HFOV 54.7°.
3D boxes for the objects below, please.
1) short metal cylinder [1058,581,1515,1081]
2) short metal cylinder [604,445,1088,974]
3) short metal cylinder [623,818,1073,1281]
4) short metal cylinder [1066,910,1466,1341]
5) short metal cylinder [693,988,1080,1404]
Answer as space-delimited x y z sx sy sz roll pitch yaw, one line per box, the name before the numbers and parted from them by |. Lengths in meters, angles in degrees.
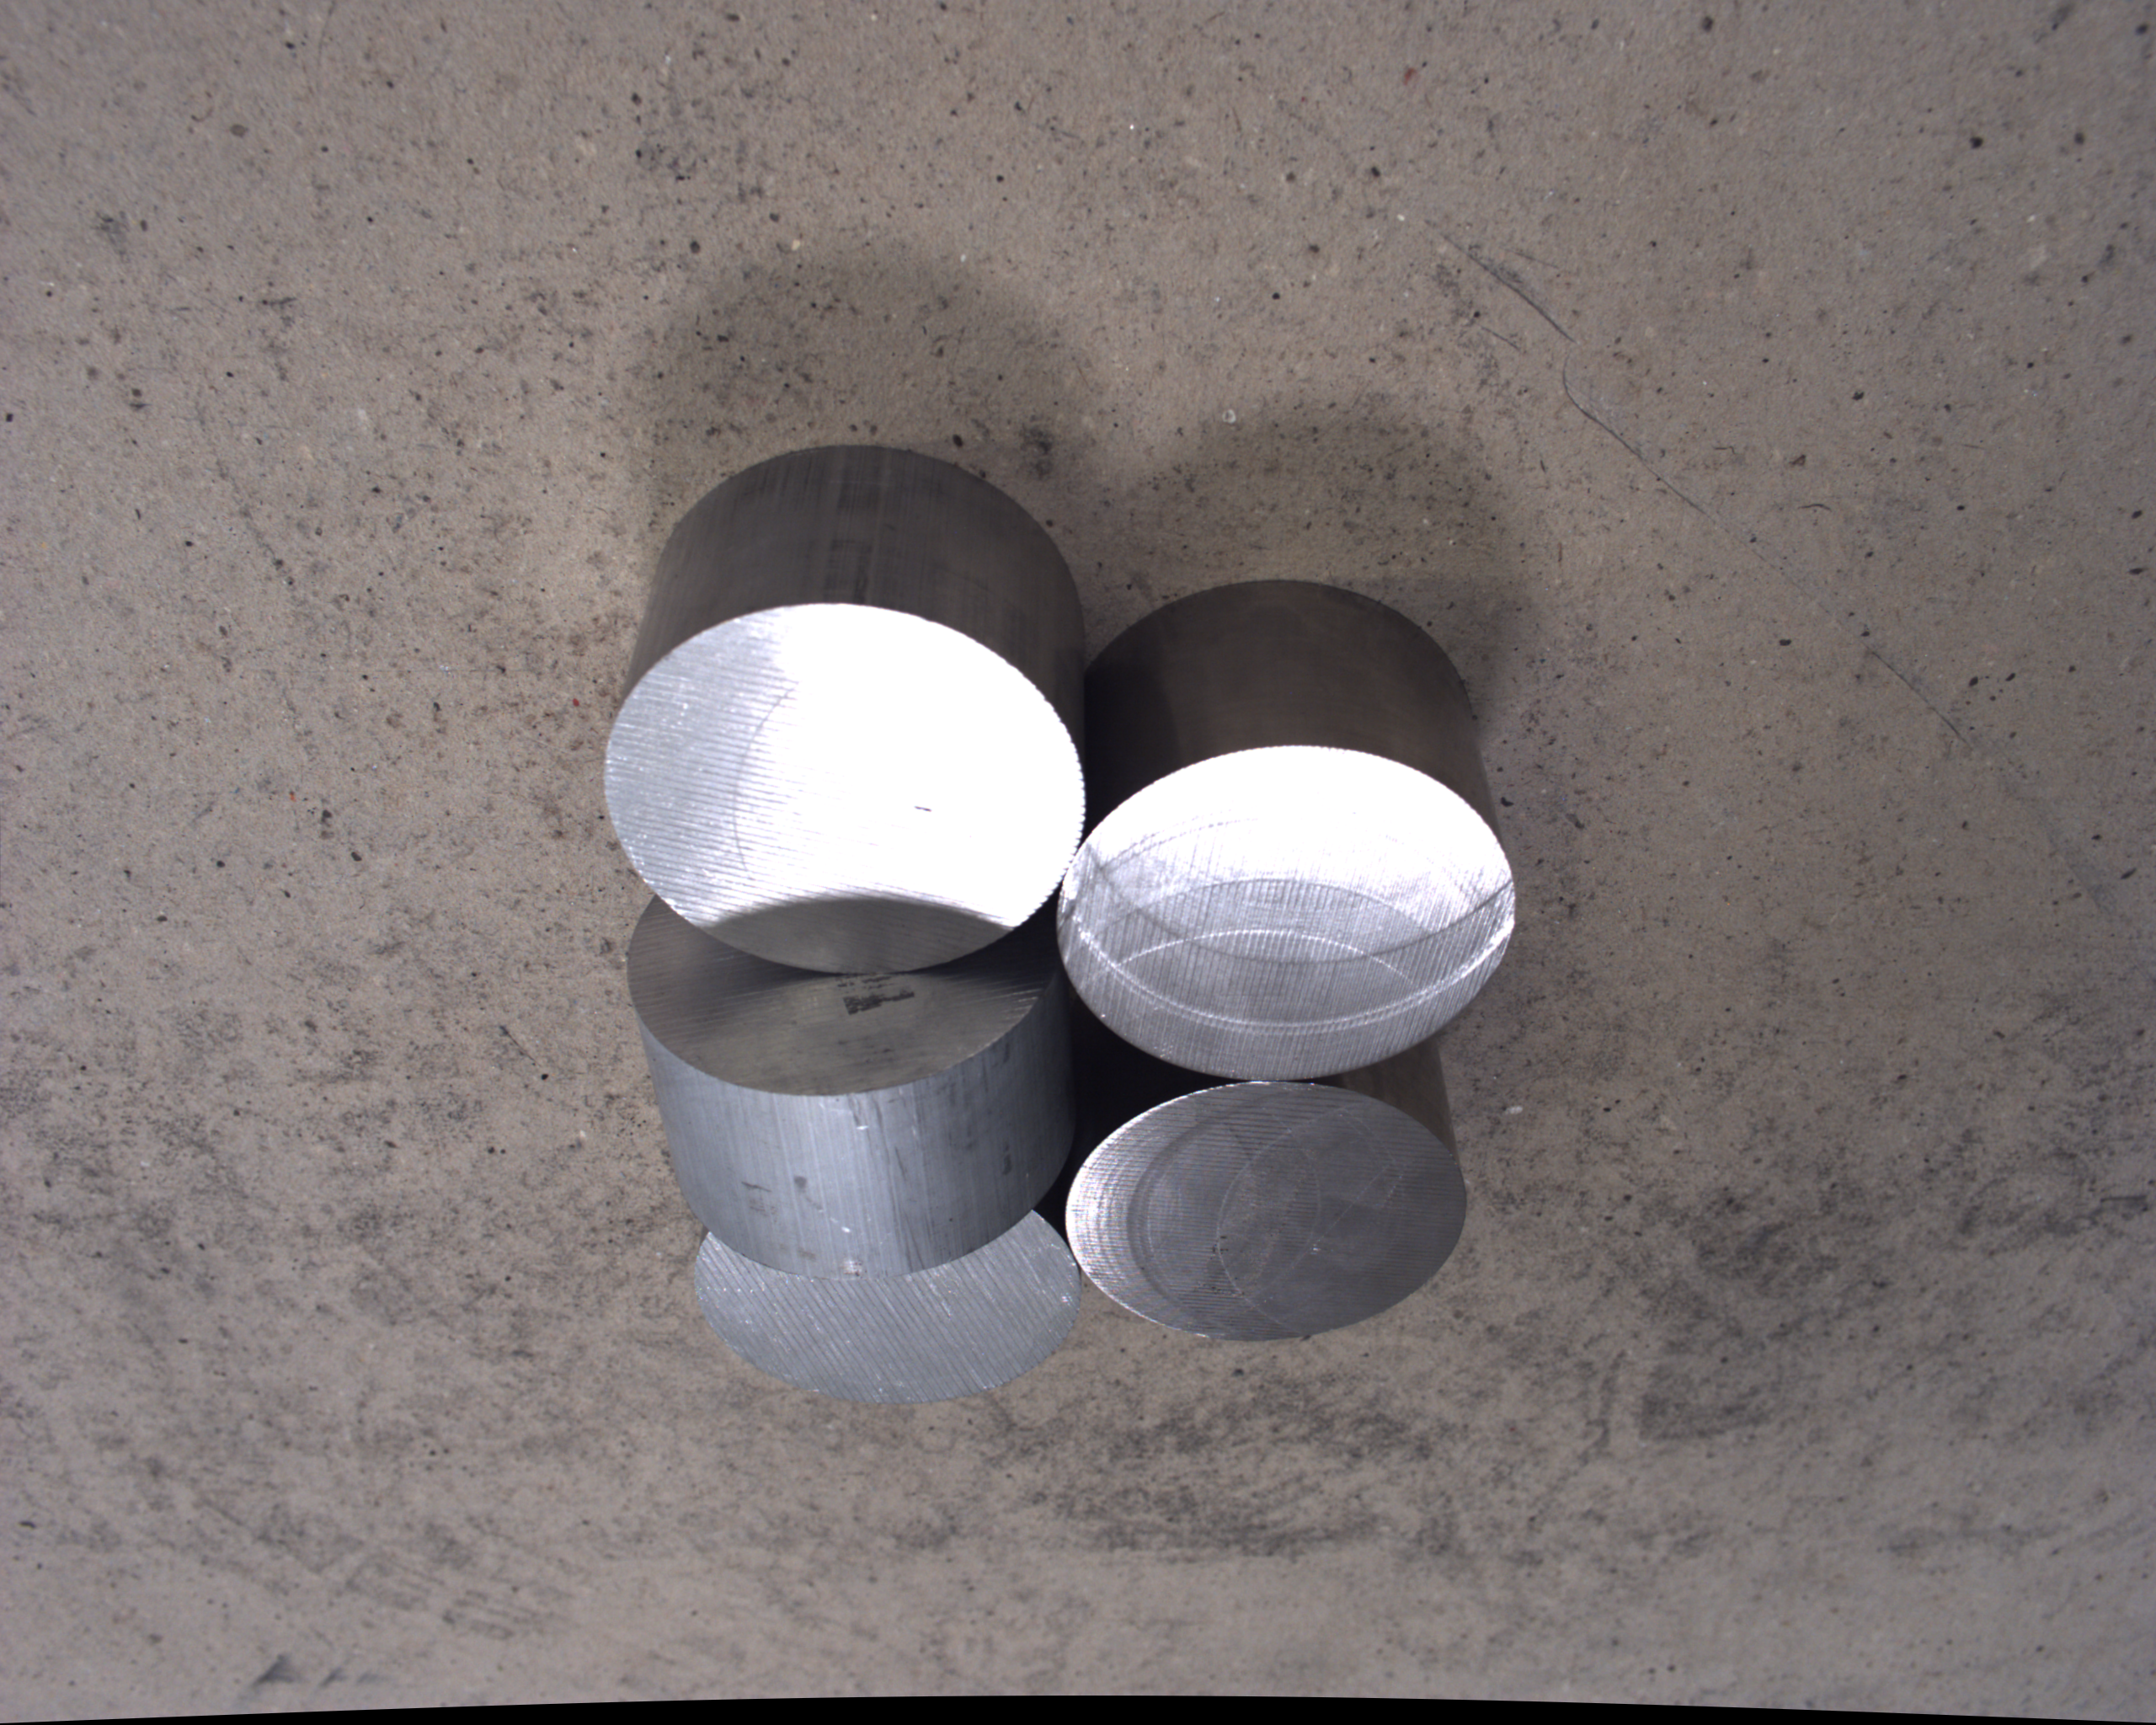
short metal cylinder | 0.037 -0.005 0.387 0.081 0.050 0.079 0 131 0
short metal cylinder | -0.039 -0.026 0.369 0.080 0.050 0.079 0 131 1
short metal cylinder | -0.042 0.033 0.400 0.080 0.080 0.050 -2 130 2
short metal cylinder | 0.038 0.056 0.439 0.080 0.050 0.079 0 131 1
short metal cylinder | -0.039 0.073 0.454 0.080 0.050 0.079 0 131 1
